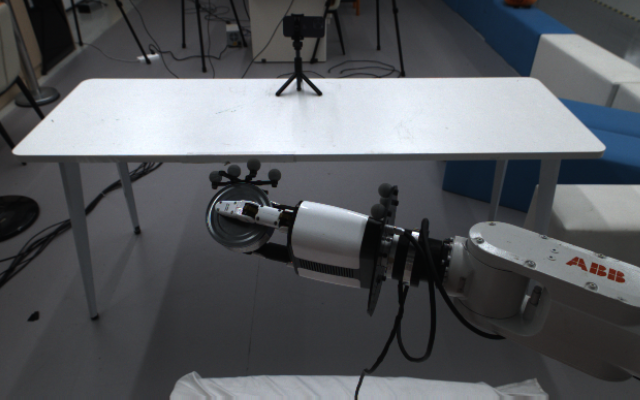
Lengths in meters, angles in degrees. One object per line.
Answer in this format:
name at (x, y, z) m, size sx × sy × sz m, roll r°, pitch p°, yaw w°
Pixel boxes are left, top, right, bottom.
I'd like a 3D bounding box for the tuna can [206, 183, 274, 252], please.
tuna can at (-0.098, 0.028, 0.616) m, size 0.085 × 0.034 × 0.085 m, roll -2°, pitch 69°, yaw 6°
